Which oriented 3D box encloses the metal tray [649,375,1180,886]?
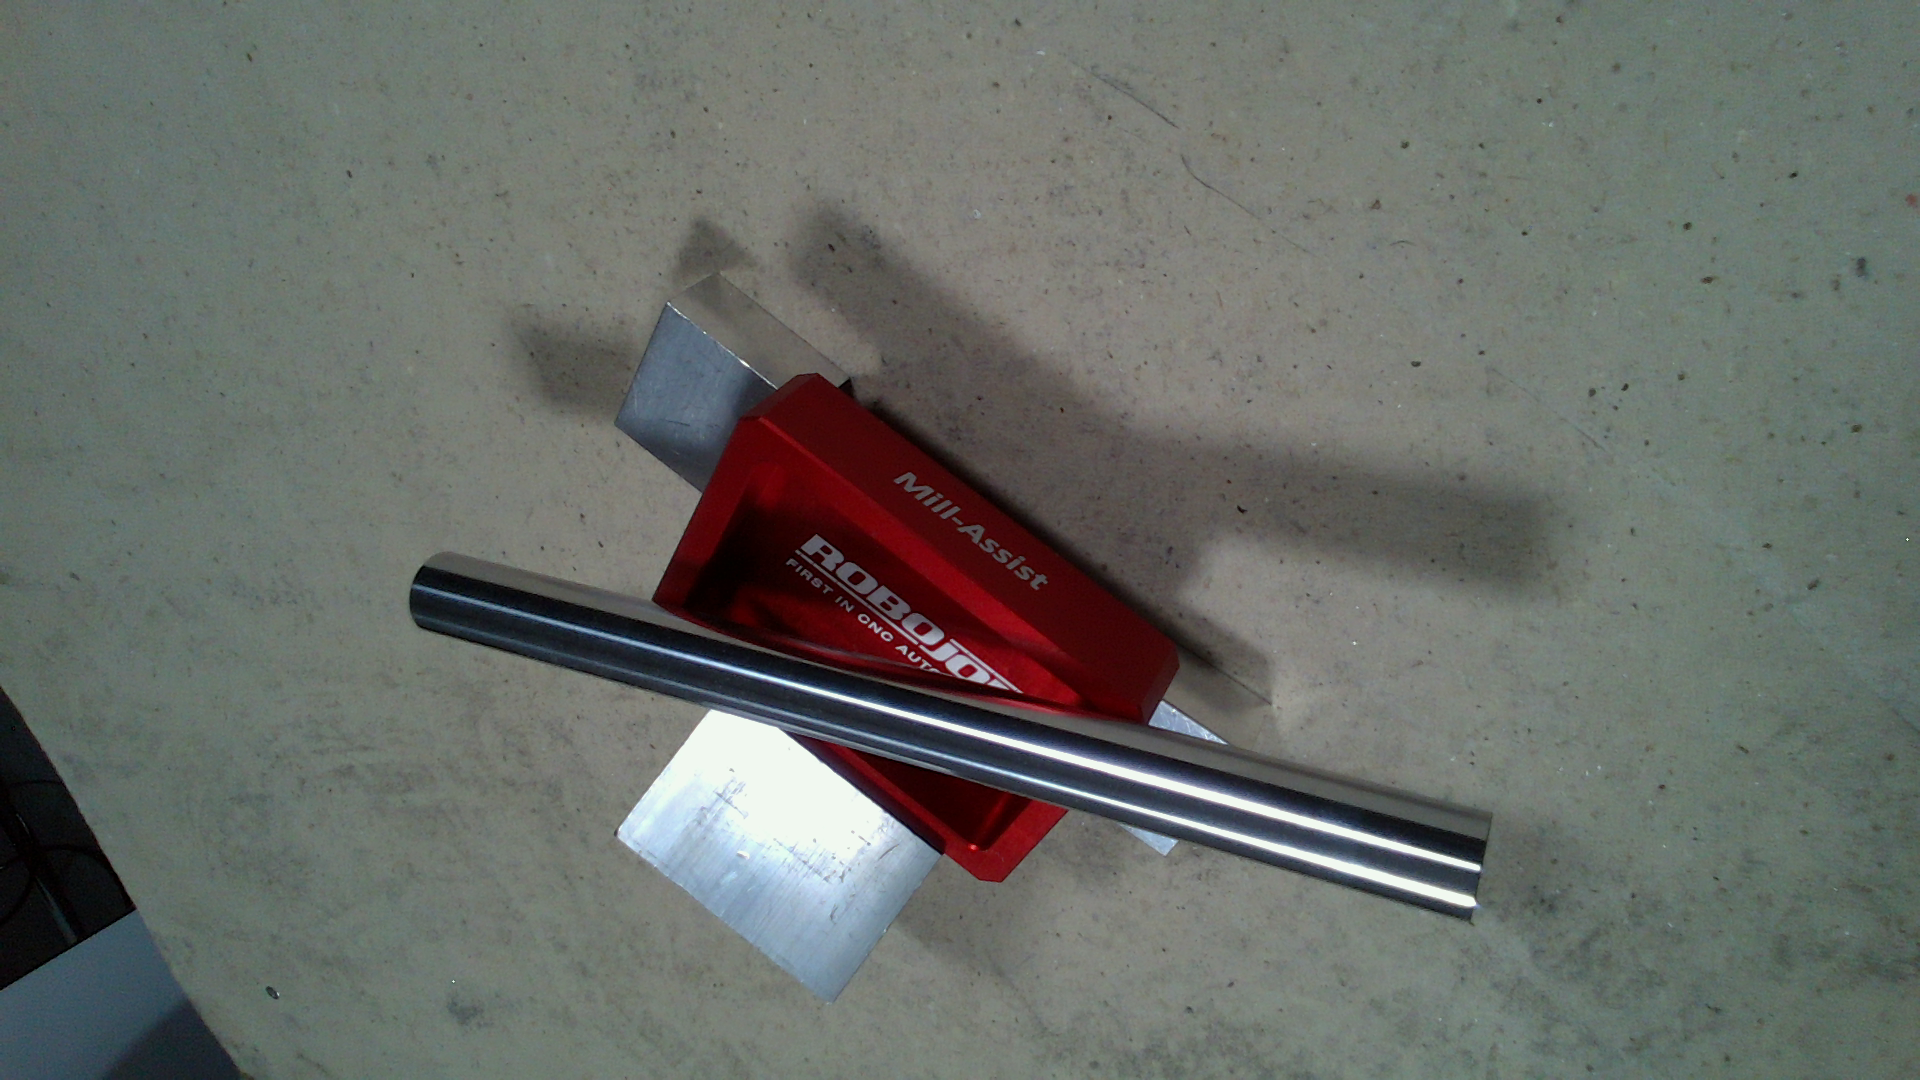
[{"bbox_3d":[-0.017,0.027,0.382,0.130,0.030,0.090,37,129,3],"label":"metal tray"}]

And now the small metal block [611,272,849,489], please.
[{"bbox_3d":[-0.068,-0.041,0.404,0.050,0.025,0.050,38,129,2],"label":"small metal block"}]

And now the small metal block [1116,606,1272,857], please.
[{"bbox_3d":[0.053,0.056,0.399,0.050,0.025,0.050,33,129,6],"label":"small metal block"}]

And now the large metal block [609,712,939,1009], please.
[{"bbox_3d":[-0.052,0.091,0.431,0.080,0.080,0.050,37,88,4],"label":"large metal block"}]

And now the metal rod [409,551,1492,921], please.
[{"bbox_3d":[-0.021,0.044,0.360,0.299,0.025,0.025,12,124,22],"label":"metal rod"}]
